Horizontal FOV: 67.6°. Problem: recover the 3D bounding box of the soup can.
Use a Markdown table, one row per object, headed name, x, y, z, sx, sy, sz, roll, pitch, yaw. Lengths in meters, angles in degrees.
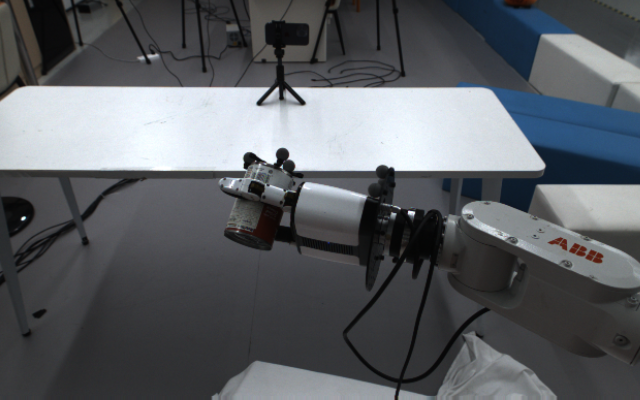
| name | x | y | z | sx | sy | sz | roll | pitch | yaw |
| --- | --- | --- | --- | --- | --- | --- | --- | --- | --- |
| soup can | -0.081 | 0.007 | 0.648 | 0.067 | 0.067 | 0.101 | 12 | 71 | 14 |
